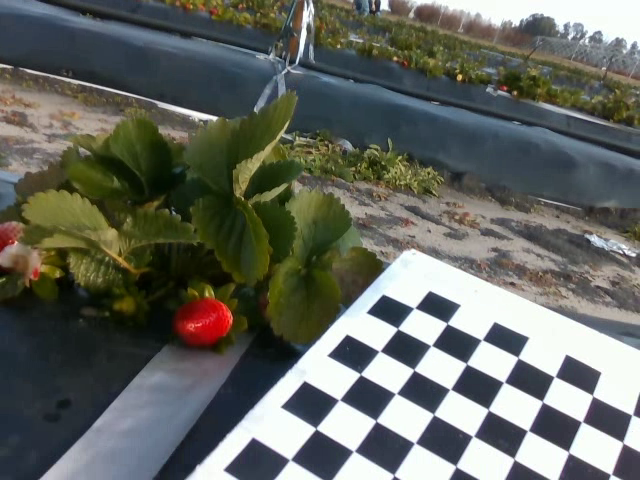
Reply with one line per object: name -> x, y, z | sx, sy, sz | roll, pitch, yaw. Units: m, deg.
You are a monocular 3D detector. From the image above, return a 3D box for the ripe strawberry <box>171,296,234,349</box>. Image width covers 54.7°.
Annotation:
ripe strawberry -> -0.072, 0.049, 0.363 | 0.050, 0.036, 0.055 | 27, 24, 13
